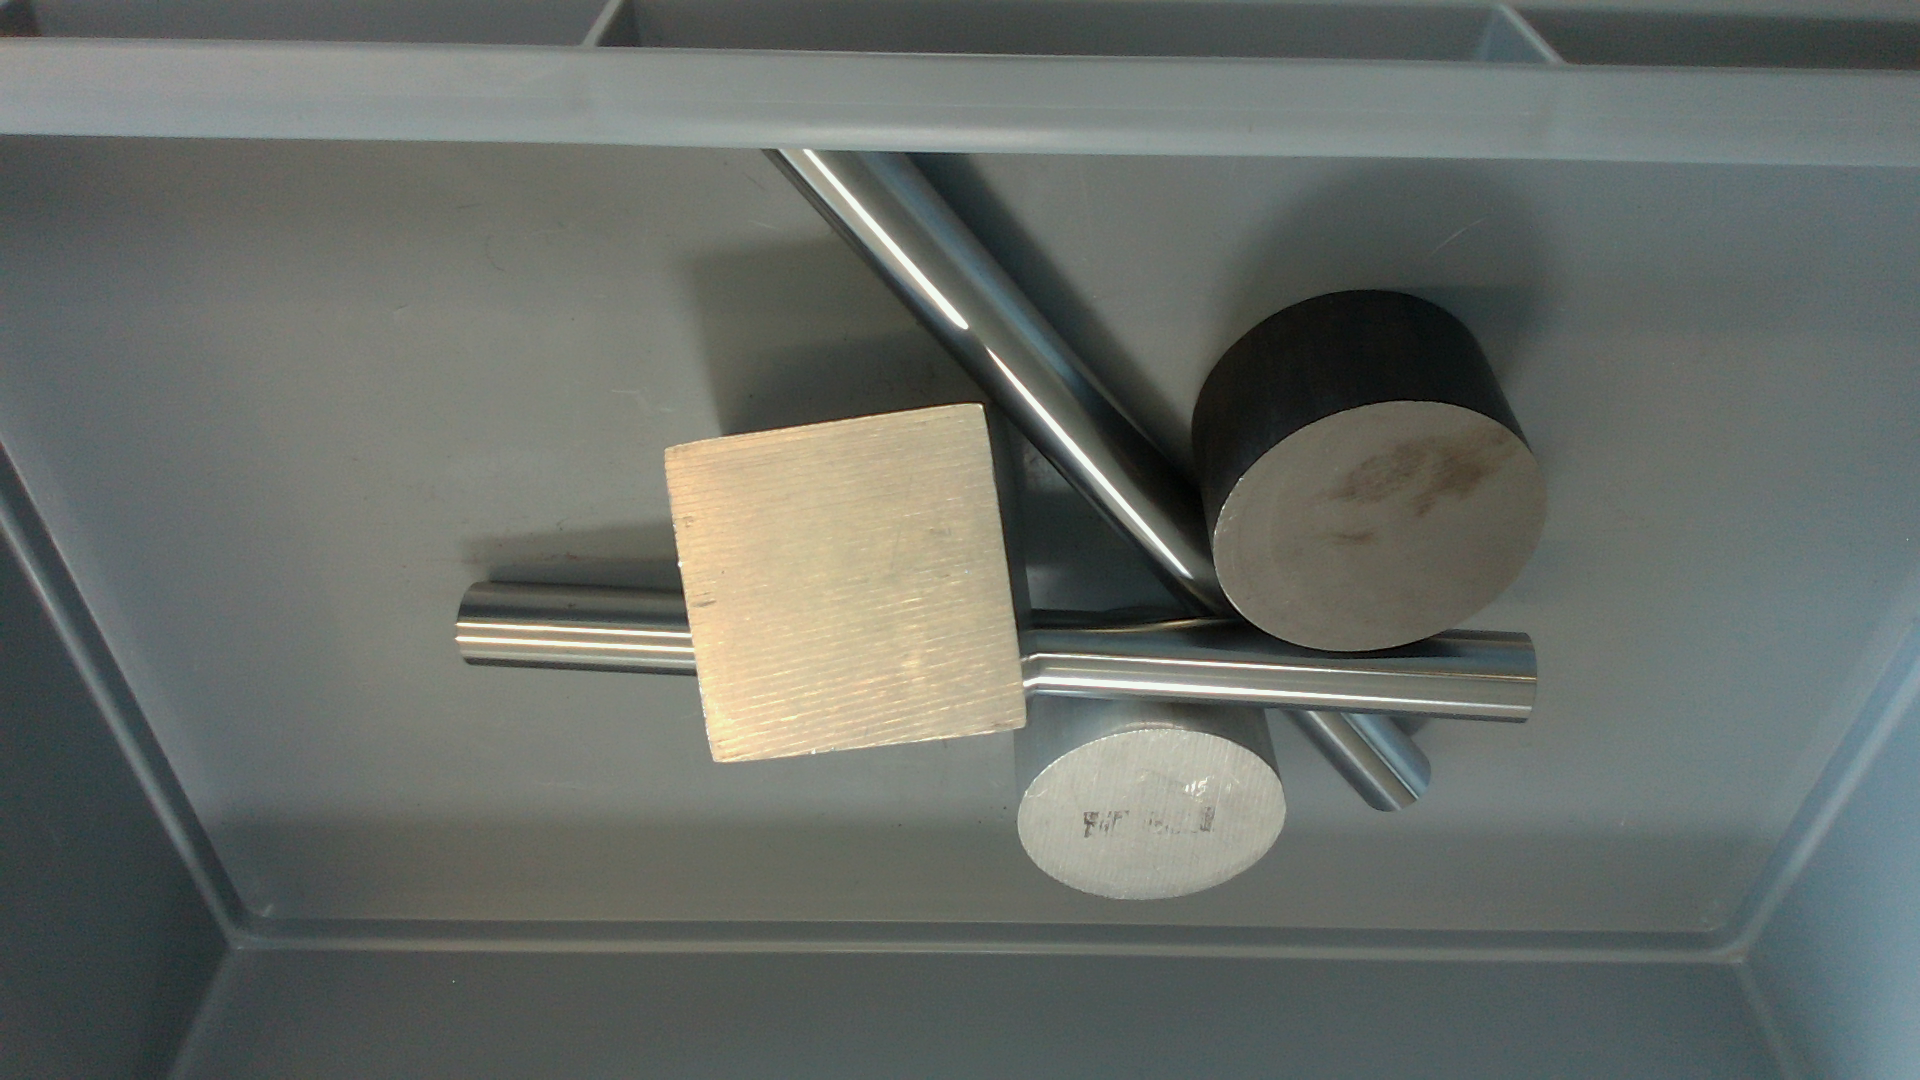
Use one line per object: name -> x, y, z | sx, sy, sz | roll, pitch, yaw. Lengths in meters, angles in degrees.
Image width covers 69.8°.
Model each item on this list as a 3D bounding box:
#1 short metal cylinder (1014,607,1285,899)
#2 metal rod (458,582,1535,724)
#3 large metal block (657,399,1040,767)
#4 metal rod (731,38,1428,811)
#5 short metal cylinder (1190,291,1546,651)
short metal cylinder -> 0.057, 0.067, 0.430 | 0.080, 0.050, 0.080 | 0, 130, 0
metal rod -> 0.006, 0.032, 0.394 | 0.300, 0.025, 0.025 | 3, 130, 6
large metal block -> -0.026, 0.009, 0.356 | 0.080, 0.050, 0.080 | -8, 95, 7
metal rod -> 0.051, -0.011, 0.380 | 0.025, 0.025, 0.301 | -31, 124, 23
short metal cylinder -> 0.103, -0.017, 0.359 | 0.080, 0.050, 0.080 | 0, 130, 0
